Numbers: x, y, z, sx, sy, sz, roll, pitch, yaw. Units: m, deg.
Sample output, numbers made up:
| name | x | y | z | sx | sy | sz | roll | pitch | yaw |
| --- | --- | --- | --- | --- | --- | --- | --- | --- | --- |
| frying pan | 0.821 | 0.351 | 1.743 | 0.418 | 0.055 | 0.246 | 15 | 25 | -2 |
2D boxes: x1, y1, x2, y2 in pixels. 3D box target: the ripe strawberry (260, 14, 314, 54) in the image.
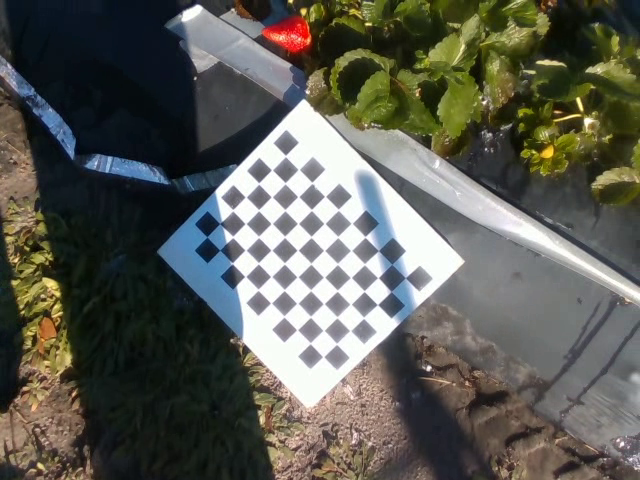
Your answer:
| name | x | y | z | sx | sy | sz | roll | pitch | yaw |
| --- | --- | --- | --- | --- | --- | --- | --- | --- | --- |
| ripe strawberry | -0.050 | -0.269 | 0.706 | 0.065 | 0.062 | 0.057 | -16 | 6 | -38 |
